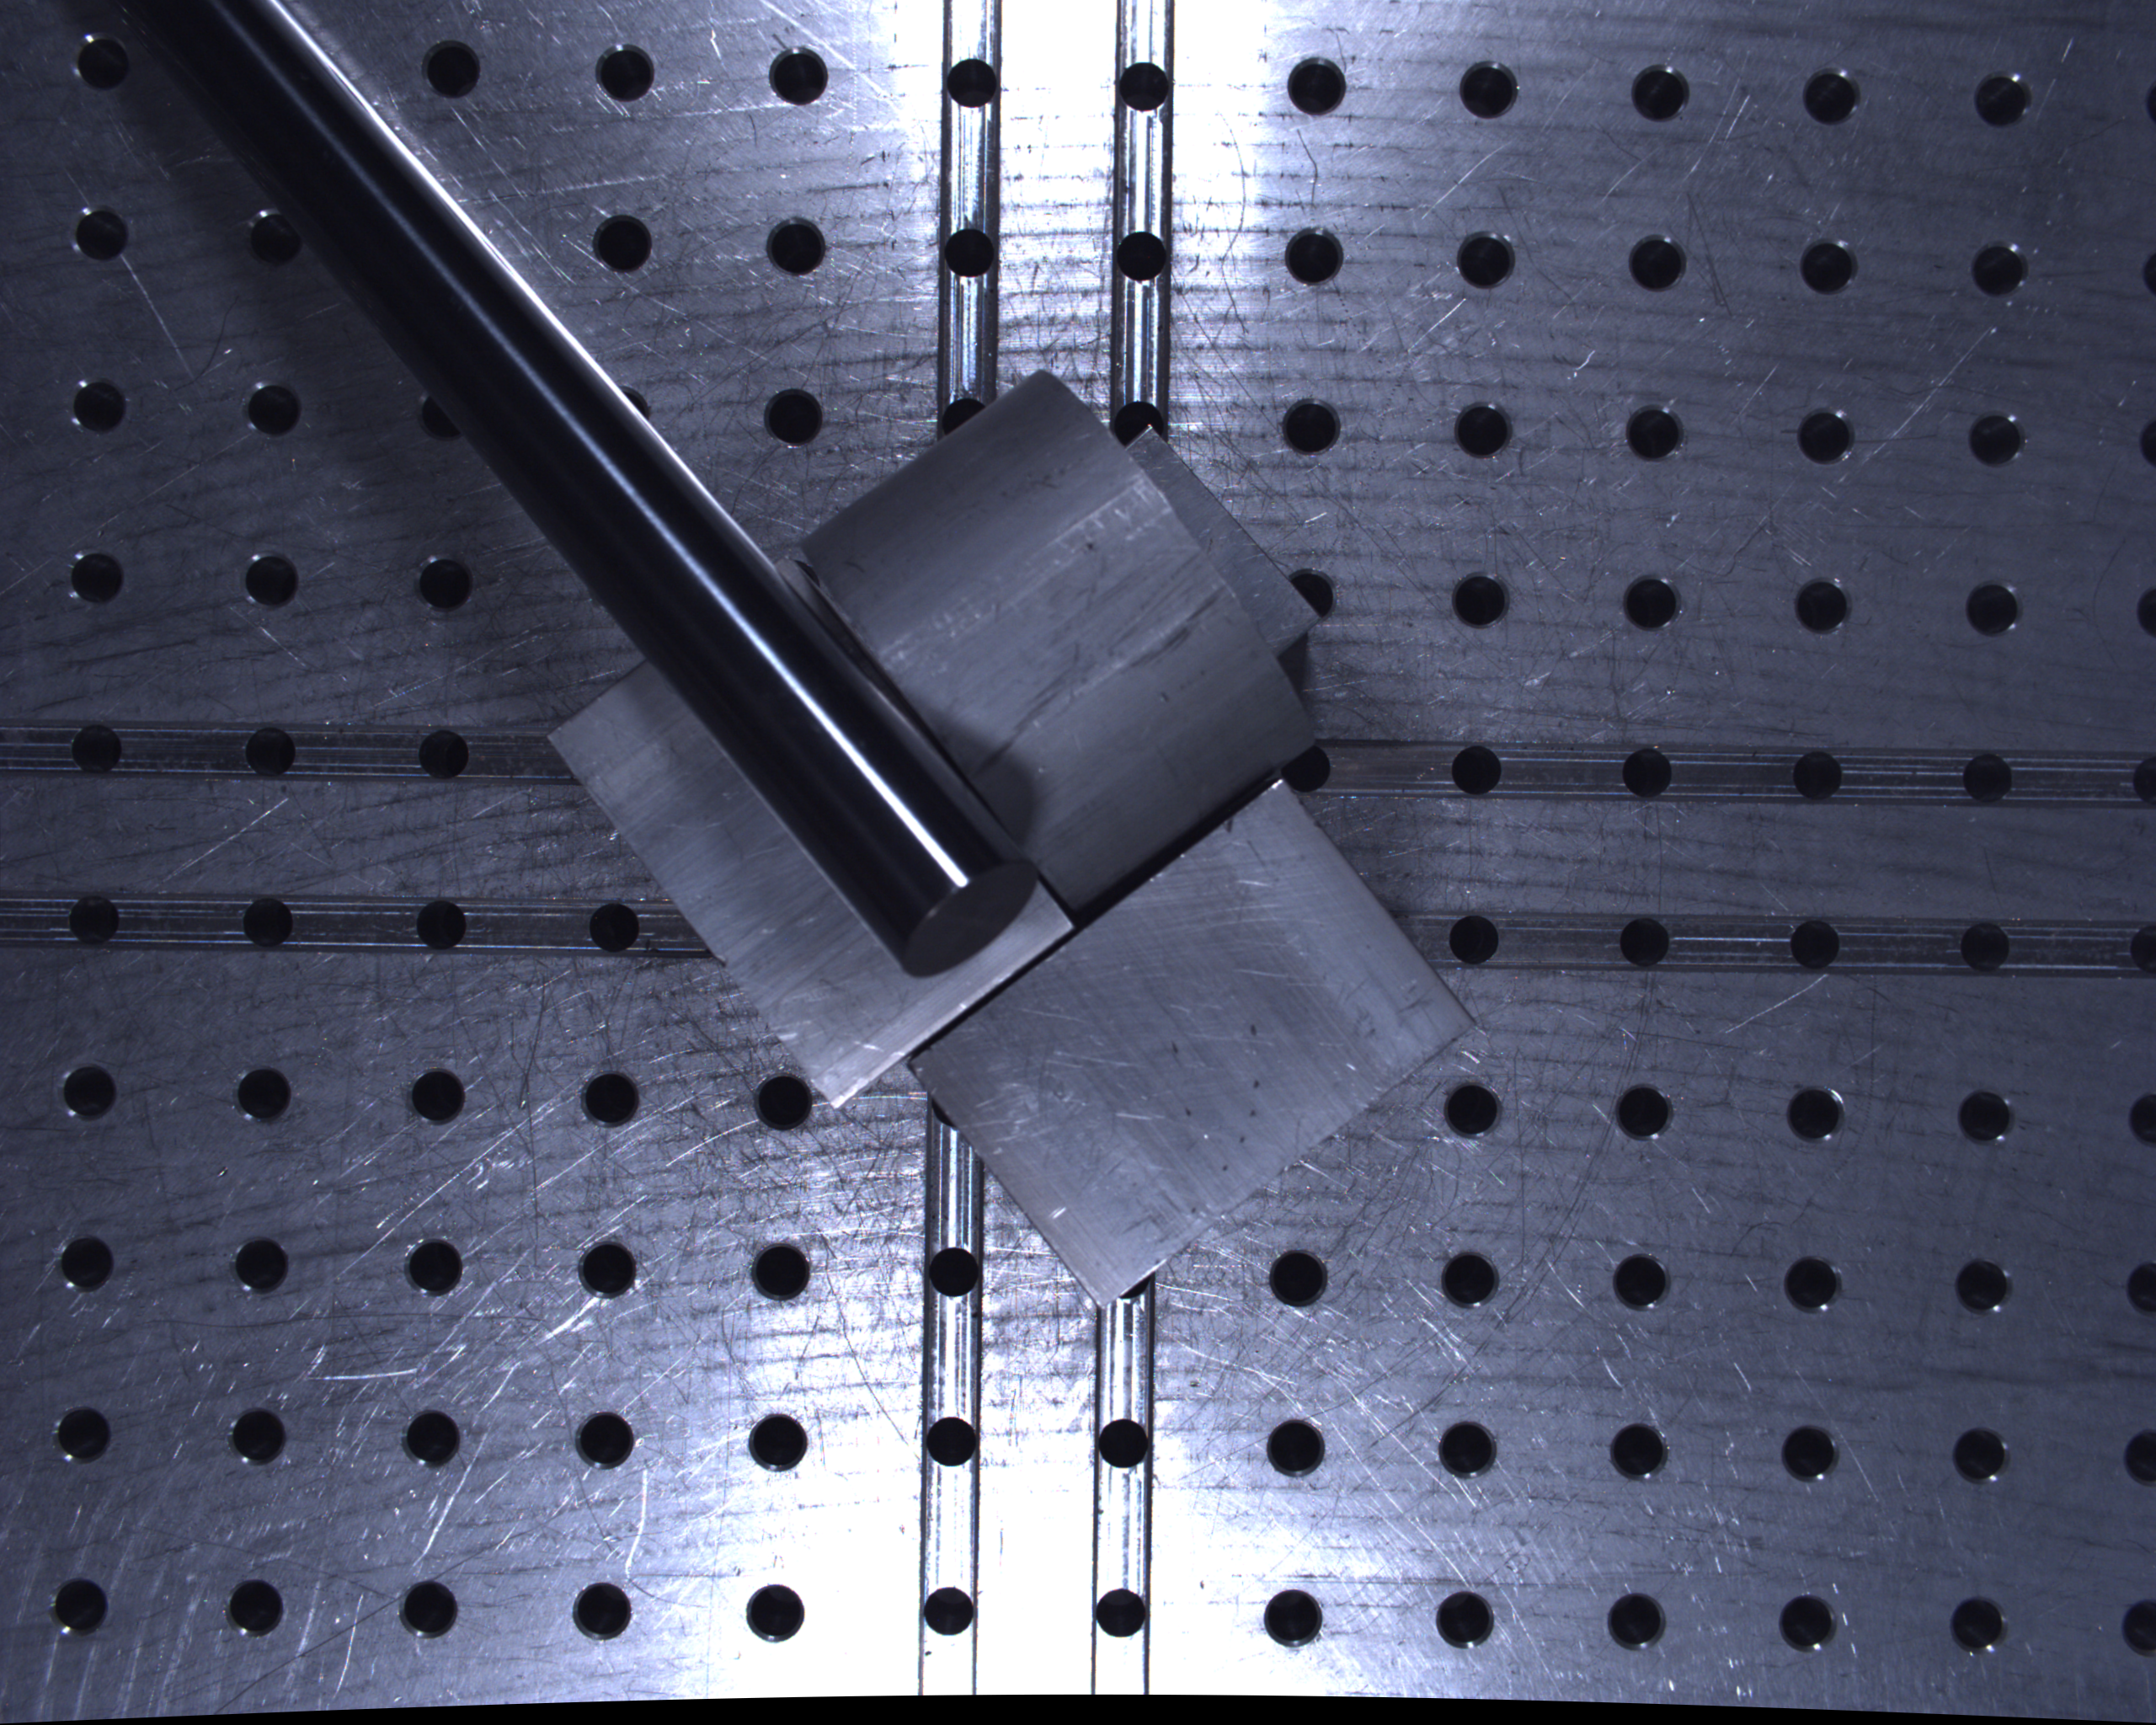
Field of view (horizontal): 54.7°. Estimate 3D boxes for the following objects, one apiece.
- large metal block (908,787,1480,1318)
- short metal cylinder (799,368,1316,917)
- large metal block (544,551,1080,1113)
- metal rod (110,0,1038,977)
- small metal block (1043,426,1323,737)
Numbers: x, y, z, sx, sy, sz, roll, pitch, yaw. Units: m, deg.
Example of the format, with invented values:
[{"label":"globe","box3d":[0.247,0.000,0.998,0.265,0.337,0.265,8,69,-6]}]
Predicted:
[{"label":"large metal block","box3d":[0.019,0.031,0.384,0.080,0.080,0.050,-37,90,0]},{"label":"short metal cylinder","box3d":[-0.003,-0.037,0.360,0.050,0.080,0.080,-37,90,0]},{"label":"large metal block","box3d":[-0.044,-0.005,0.386,0.050,0.080,0.080,-38,90,0]},{"label":"metal rod","box3d":[-0.109,-0.097,0.360,0.025,0.025,0.300,-41,69,0]},{"label":"small metal block","box3d":[0.012,-0.049,0.414,0.050,0.025,0.050,-42,91,0]}]
